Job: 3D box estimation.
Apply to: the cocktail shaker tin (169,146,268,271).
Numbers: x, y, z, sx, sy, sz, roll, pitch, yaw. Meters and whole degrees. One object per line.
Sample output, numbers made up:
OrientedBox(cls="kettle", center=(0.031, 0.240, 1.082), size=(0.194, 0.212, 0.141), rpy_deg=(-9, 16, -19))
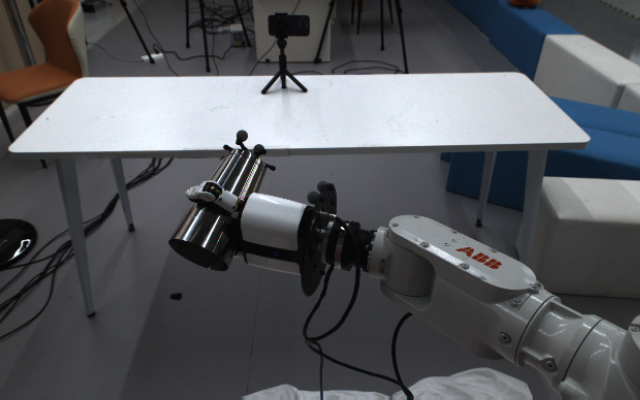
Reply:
OrientedBox(cls="cocktail shaker tin", center=(-0.145, 0.010, 0.719), size=(0.093, 0.093, 0.170), rpy_deg=(14, 61, 17))
